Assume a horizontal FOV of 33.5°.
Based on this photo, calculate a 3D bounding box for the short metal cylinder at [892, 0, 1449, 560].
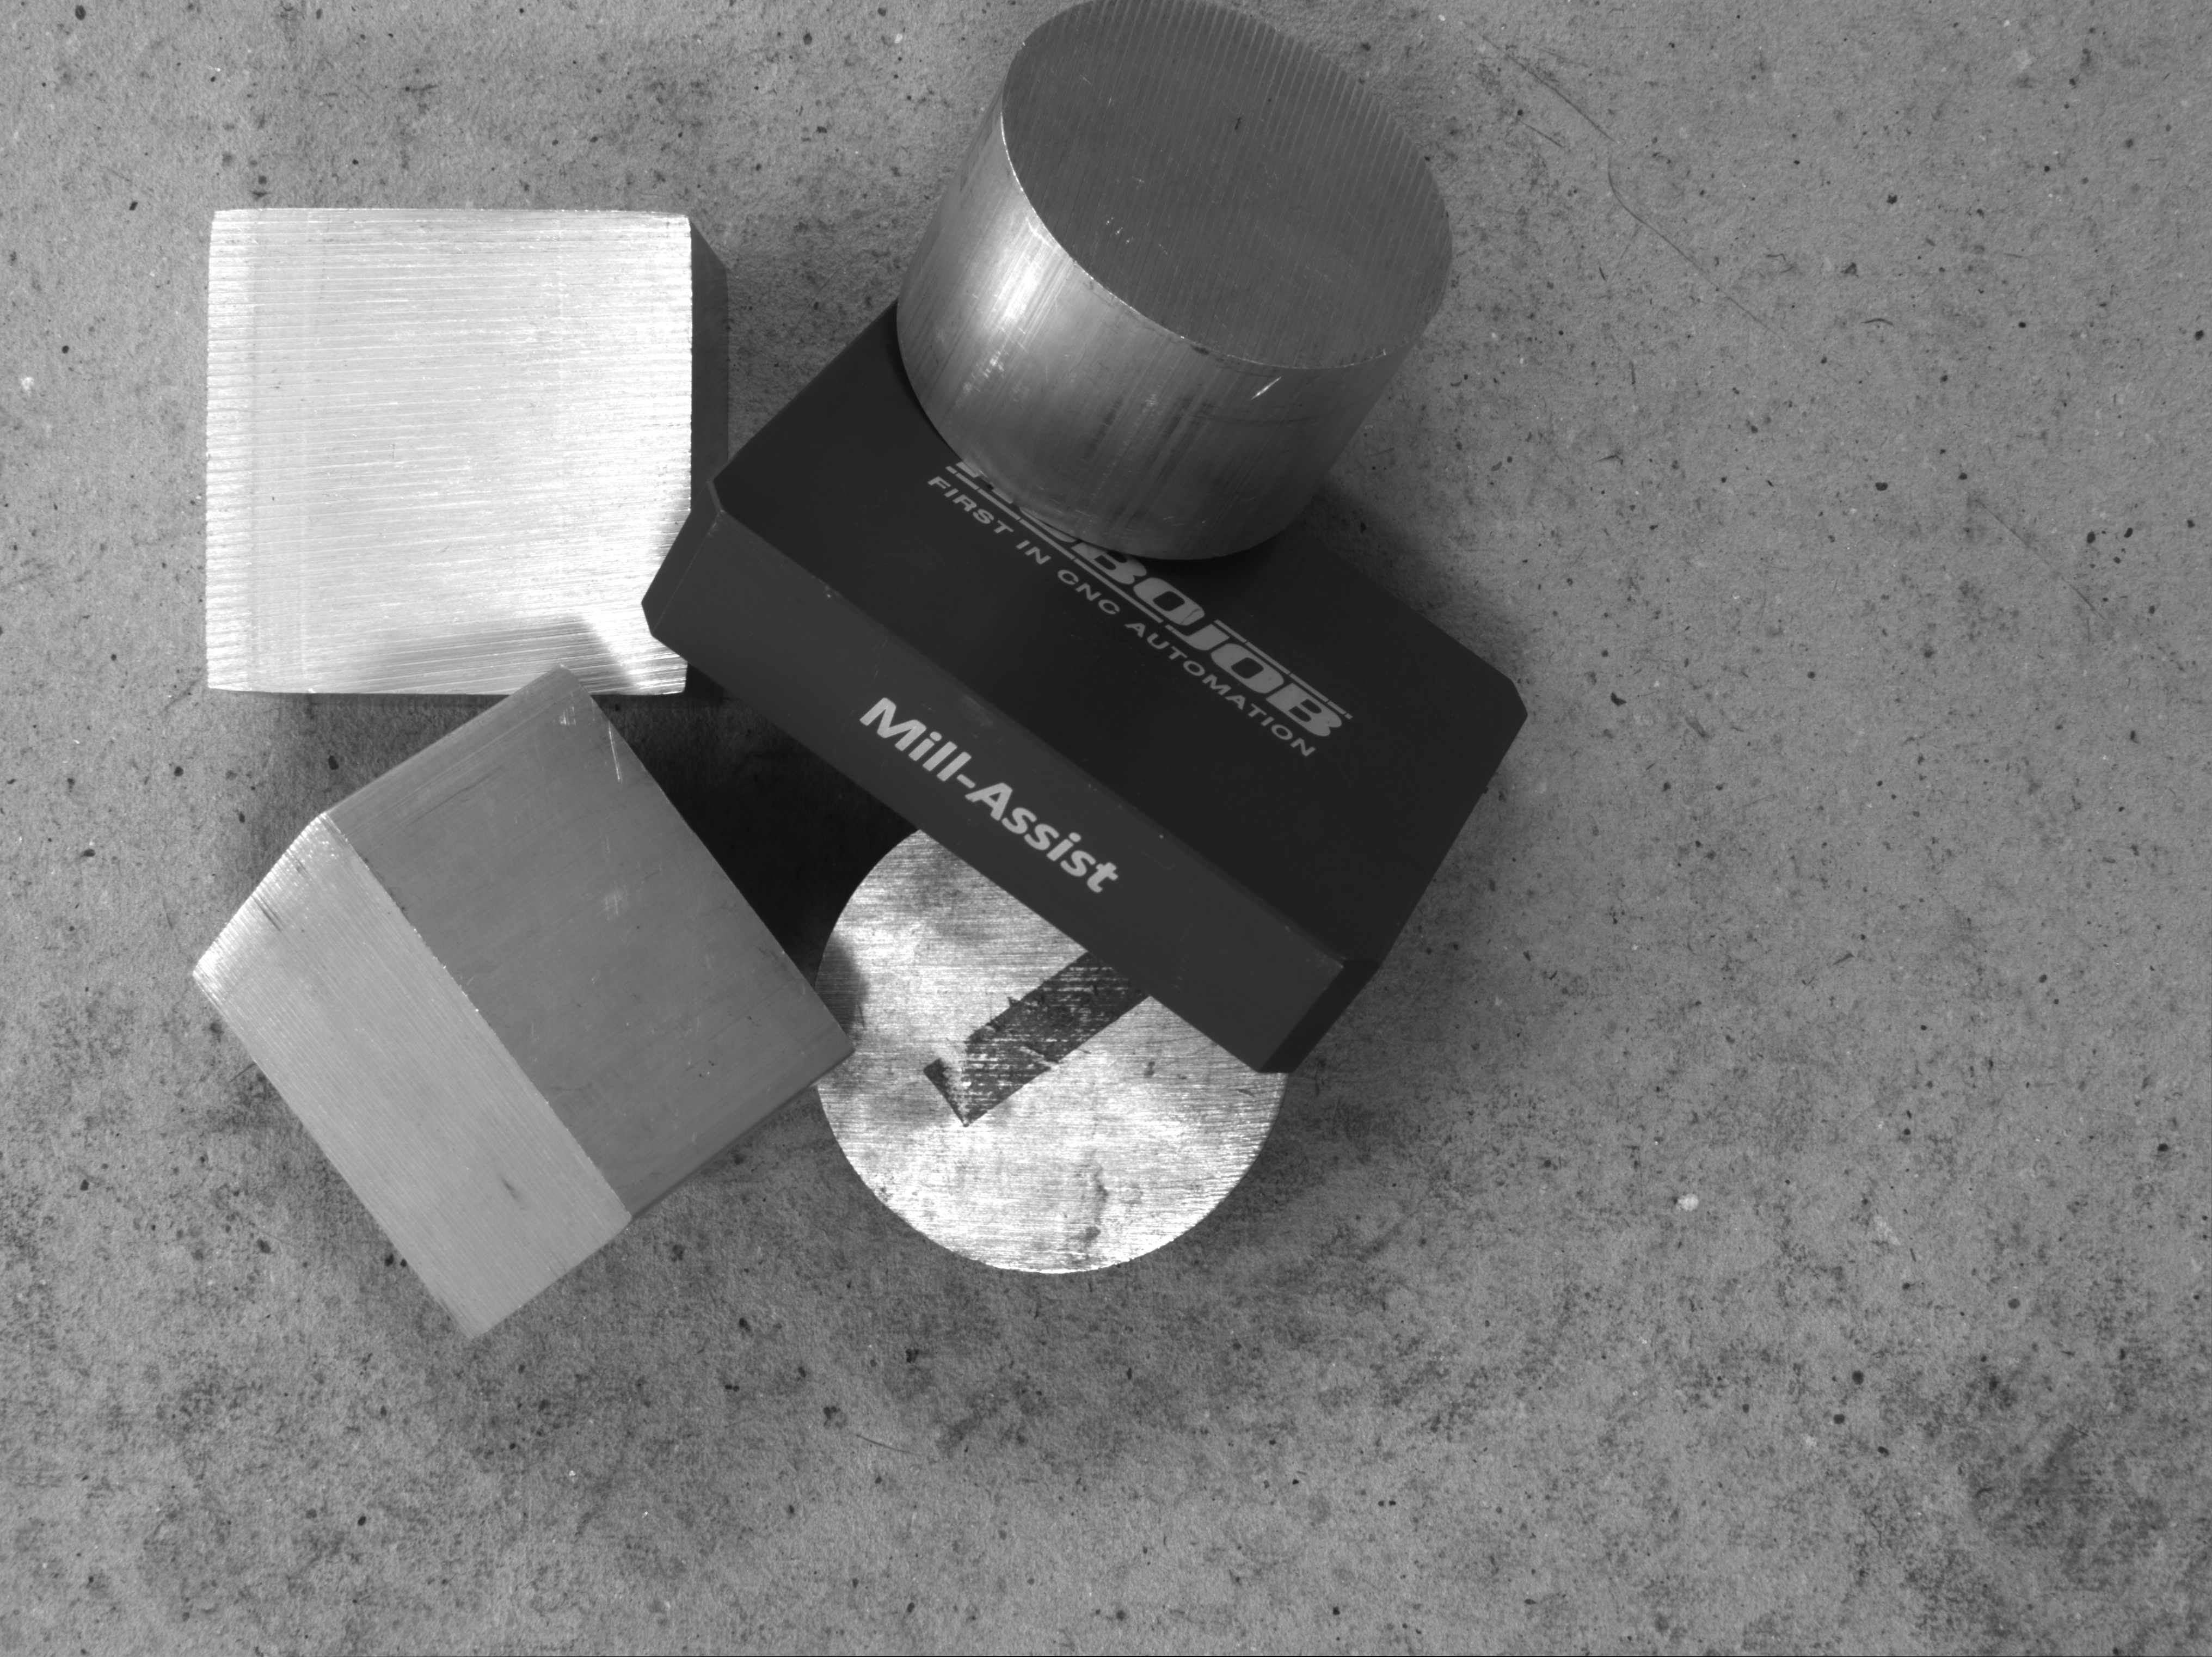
[{"bbox_3d":[0.010,-0.092,0.614,0.080,0.050,0.080,13,53,-18],"label":"short metal cylinder"}]

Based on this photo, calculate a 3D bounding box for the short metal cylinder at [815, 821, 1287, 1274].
[{"bbox_3d":[-0.009,0.034,0.634,0.080,0.050,0.080,0,90,0],"label":"short metal cylinder"}]

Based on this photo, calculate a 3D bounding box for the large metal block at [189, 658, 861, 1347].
[{"bbox_3d":[-0.098,0.031,0.612,0.050,0.080,0.080,-37,90,-36],"label":"large metal block"}]

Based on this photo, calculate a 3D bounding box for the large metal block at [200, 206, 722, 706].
[{"bbox_3d":[-0.109,-0.062,0.632,0.080,0.050,0.080,1,90,0],"label":"large metal block"}]

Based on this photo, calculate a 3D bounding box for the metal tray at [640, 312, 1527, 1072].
[{"bbox_3d":[-0.001,-0.028,0.615,0.130,0.090,0.030,36,130,0],"label":"metal tray"}]
